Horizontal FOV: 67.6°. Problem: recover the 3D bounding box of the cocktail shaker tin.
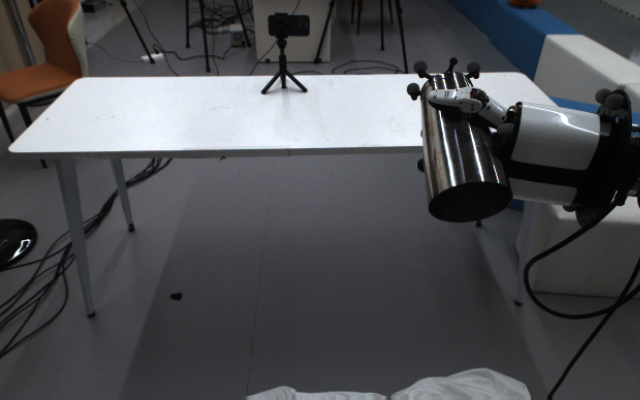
[{"bbox_3d":[0.164,-0.070,0.577,0.093,0.093,0.170,0,59,-3],"label":"cocktail shaker tin"}]
